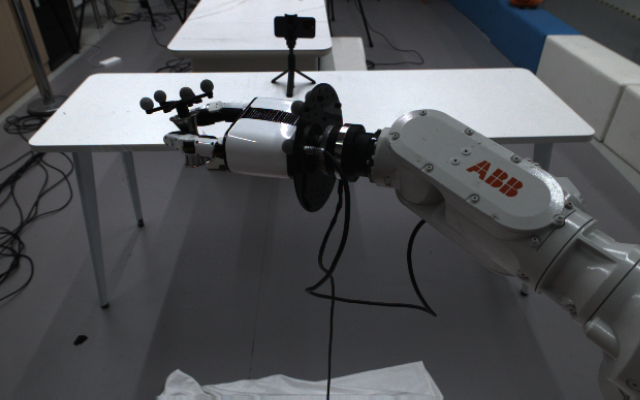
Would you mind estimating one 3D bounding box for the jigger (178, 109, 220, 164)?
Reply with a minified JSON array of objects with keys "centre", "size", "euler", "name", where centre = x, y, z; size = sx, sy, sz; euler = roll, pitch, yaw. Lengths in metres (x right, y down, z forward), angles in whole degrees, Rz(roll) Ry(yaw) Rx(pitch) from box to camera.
[{"centre":[-0.173,-0.083,0.662],"size":[0.043,0.071,0.043],"euler":[-12,25,5],"name":"jigger"}]
